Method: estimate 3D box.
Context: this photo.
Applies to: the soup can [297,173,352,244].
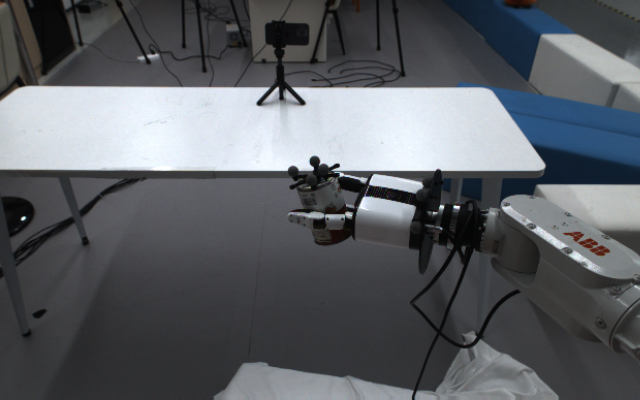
[{"bbox_3d":[0.009,0.013,0.769,0.067,0.101,0.067,-16,23,7],"label":"soup can"}]
